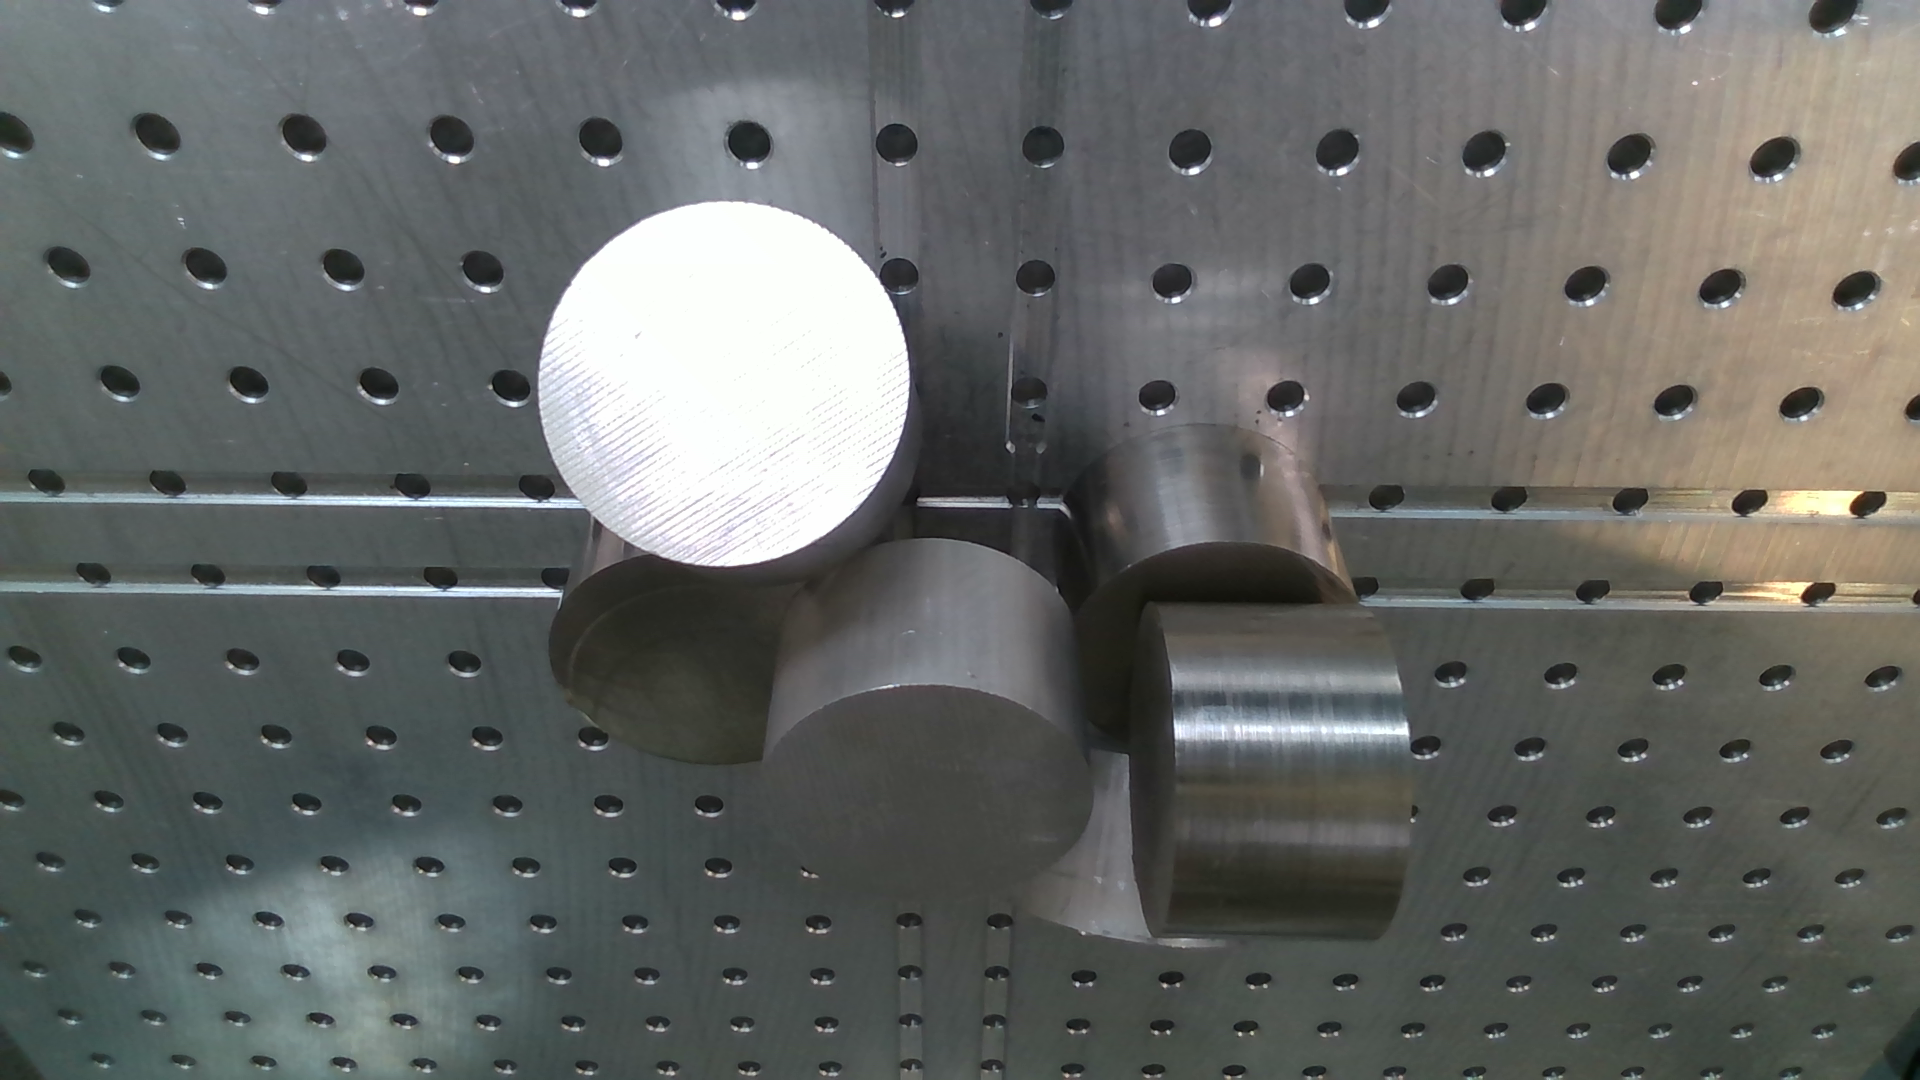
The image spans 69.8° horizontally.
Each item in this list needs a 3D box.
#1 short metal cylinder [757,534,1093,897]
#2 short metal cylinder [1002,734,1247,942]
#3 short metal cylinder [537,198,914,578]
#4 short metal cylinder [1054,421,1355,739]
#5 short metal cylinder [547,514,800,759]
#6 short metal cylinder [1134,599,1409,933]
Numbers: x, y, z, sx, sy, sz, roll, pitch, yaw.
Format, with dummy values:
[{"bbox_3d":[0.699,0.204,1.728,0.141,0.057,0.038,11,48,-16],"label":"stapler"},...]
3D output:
[{"bbox_3d":[-0.008,0.045,0.347,0.080,0.050,0.080,0,130,0],"label":"short metal cylinder"},{"bbox_3d":[0.053,0.085,0.419,0.080,0.080,0.050,8,89,-7],"label":"short metal cylinder"},{"bbox_3d":[-0.051,-0.032,0.321,0.080,0.080,0.050,-2,174,1],"label":"short metal cylinder"},{"bbox_3d":[0.067,0.014,0.387,0.080,0.050,0.080,0,130,0],"label":"short metal cylinder"},{"bbox_3d":[-0.070,0.016,0.388,0.080,0.050,0.080,0,130,1],"label":"short metal cylinder"},{"bbox_3d":[0.071,0.055,0.335,0.050,0.080,0.080,0,130,0],"label":"short metal cylinder"}]
